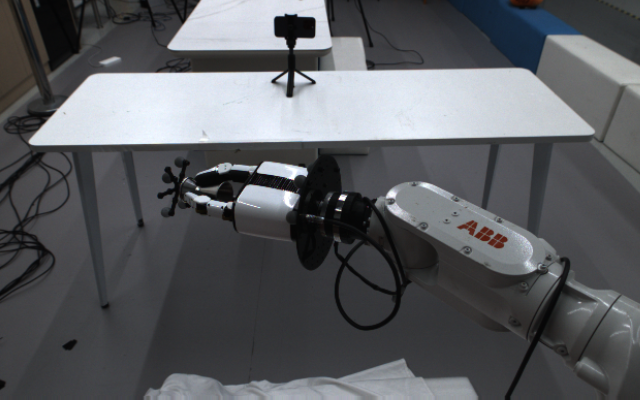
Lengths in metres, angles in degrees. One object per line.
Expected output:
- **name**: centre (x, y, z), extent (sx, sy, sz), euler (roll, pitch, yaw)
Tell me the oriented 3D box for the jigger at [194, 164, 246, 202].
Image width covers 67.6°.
- **jigger**: centre (-0.165, -0.013, 0.724), extent (0.071, 0.043, 0.043), euler (10, 35, 21)
